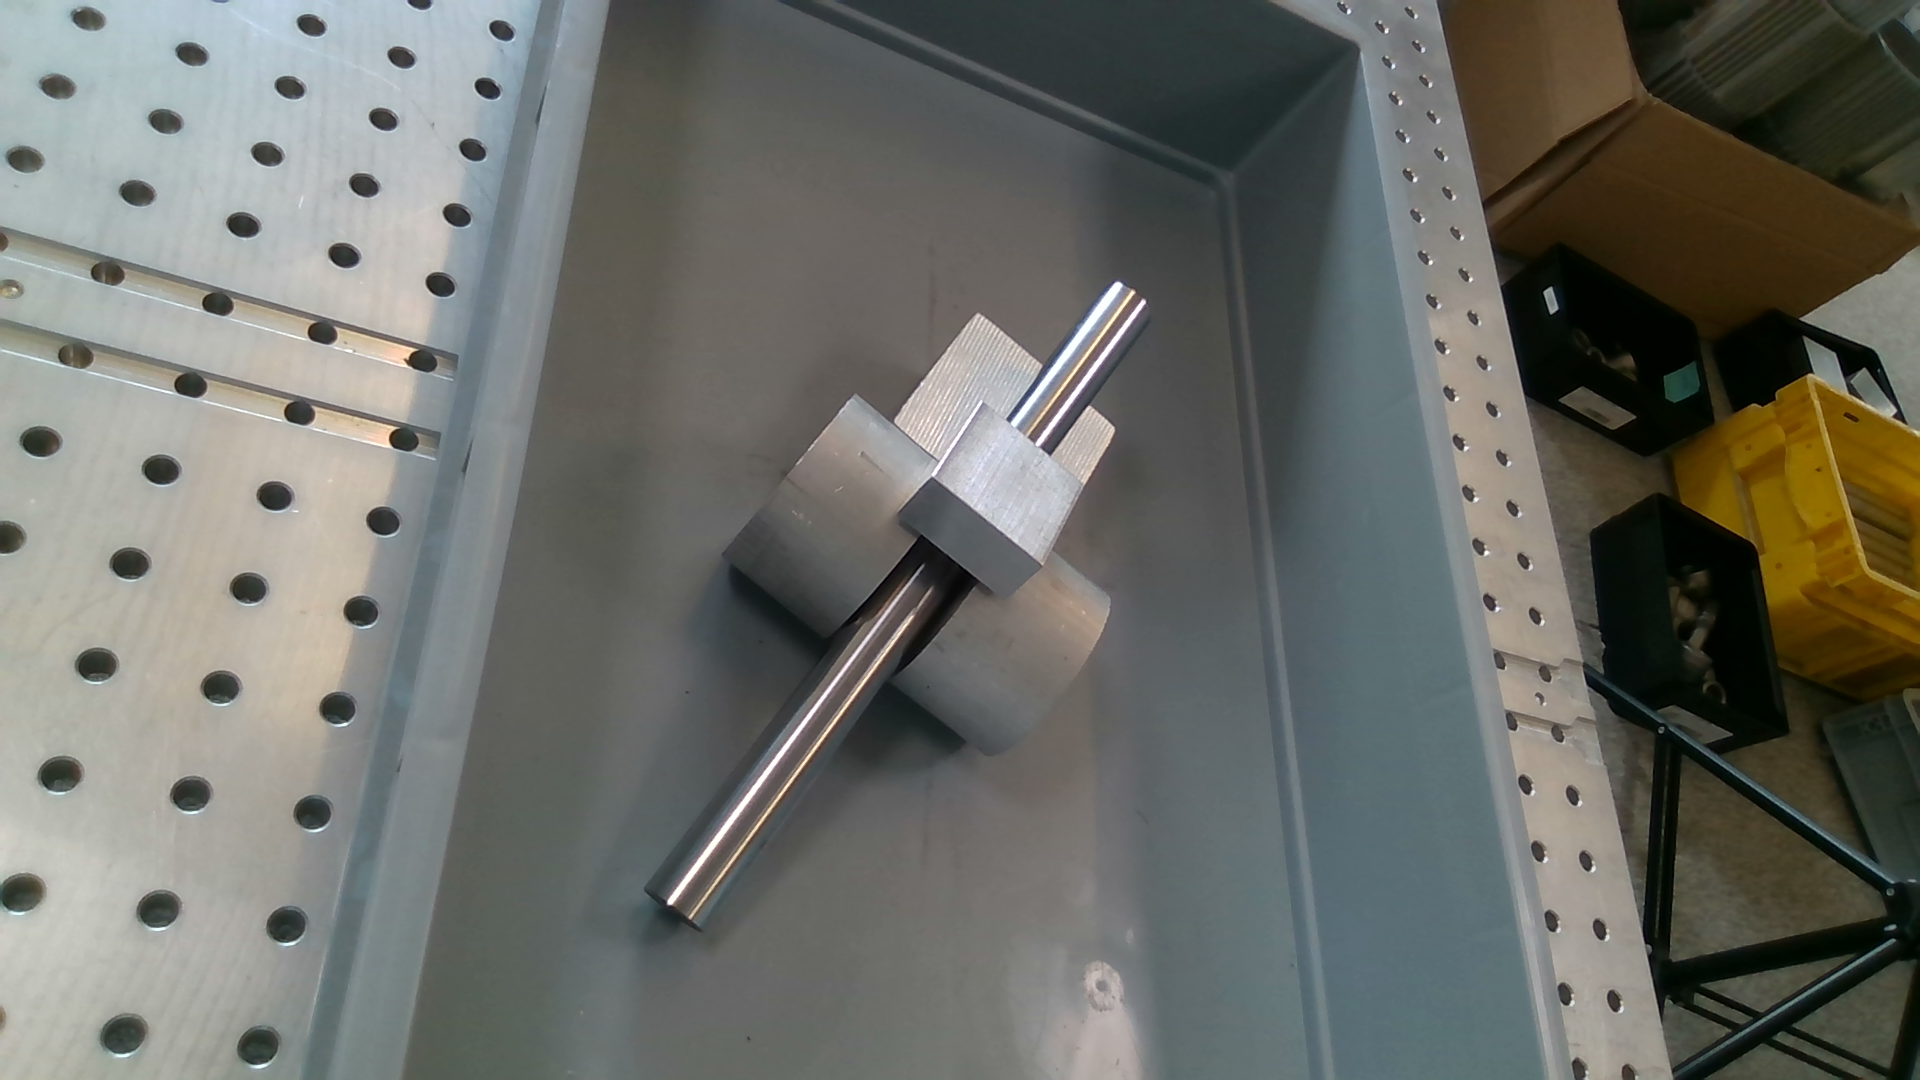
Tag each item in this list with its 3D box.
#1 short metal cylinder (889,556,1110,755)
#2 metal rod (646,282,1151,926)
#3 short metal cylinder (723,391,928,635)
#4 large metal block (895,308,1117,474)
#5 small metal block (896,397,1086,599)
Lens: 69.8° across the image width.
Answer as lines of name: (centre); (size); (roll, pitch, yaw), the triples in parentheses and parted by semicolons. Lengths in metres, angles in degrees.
short metal cylinder: (0.014, 0.037, 0.539); (0.050, 0.080, 0.080); (38, 52, -9)
metal rod: (-0.013, 0.012, 0.520); (0.025, 0.025, 0.299); (40, 67, -7)
short metal cylinder: (-0.046, -0.010, 0.526); (0.050, 0.080, 0.080); (40, 51, -7)
large metal block: (0.009, -0.038, 0.592); (0.080, 0.050, 0.080); (39, 51, -8)
small metal block: (0.012, -0.016, 0.499); (0.050, 0.025, 0.050); (39, 43, -8)
